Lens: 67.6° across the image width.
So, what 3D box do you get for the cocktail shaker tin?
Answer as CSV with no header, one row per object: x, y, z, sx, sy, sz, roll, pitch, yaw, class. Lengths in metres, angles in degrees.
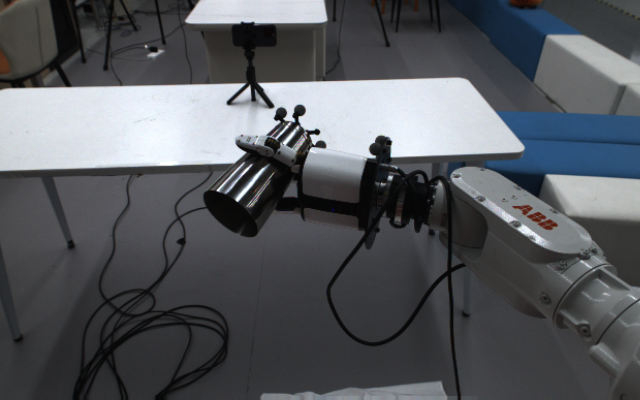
-0.079,-0.042,0.705,0.093,0.093,0.170,19,55,23,cocktail shaker tin
